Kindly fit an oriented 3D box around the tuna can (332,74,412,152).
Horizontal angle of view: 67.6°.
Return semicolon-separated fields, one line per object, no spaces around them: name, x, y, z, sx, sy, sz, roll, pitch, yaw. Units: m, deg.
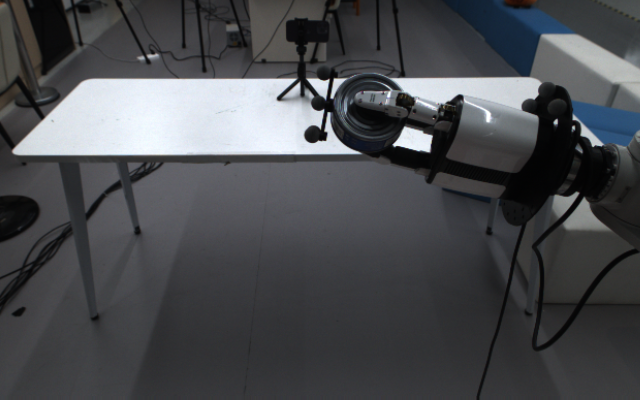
tuna can;0.059;-0.095;0.545;0.085;0.034;0.085;2;73;-5
